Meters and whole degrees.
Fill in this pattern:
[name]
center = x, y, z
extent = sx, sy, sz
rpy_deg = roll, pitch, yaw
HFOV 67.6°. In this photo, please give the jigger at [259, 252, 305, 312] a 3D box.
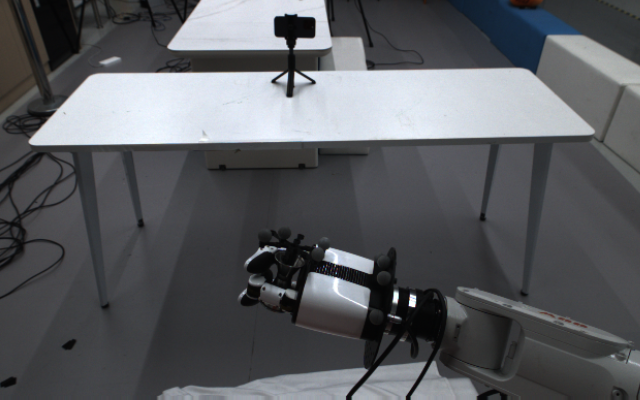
[jigger]
center = -0.045, 0.106, 0.634
extent = 0.043, 0.071, 0.043
rpy_deg = 15, 17, -5
